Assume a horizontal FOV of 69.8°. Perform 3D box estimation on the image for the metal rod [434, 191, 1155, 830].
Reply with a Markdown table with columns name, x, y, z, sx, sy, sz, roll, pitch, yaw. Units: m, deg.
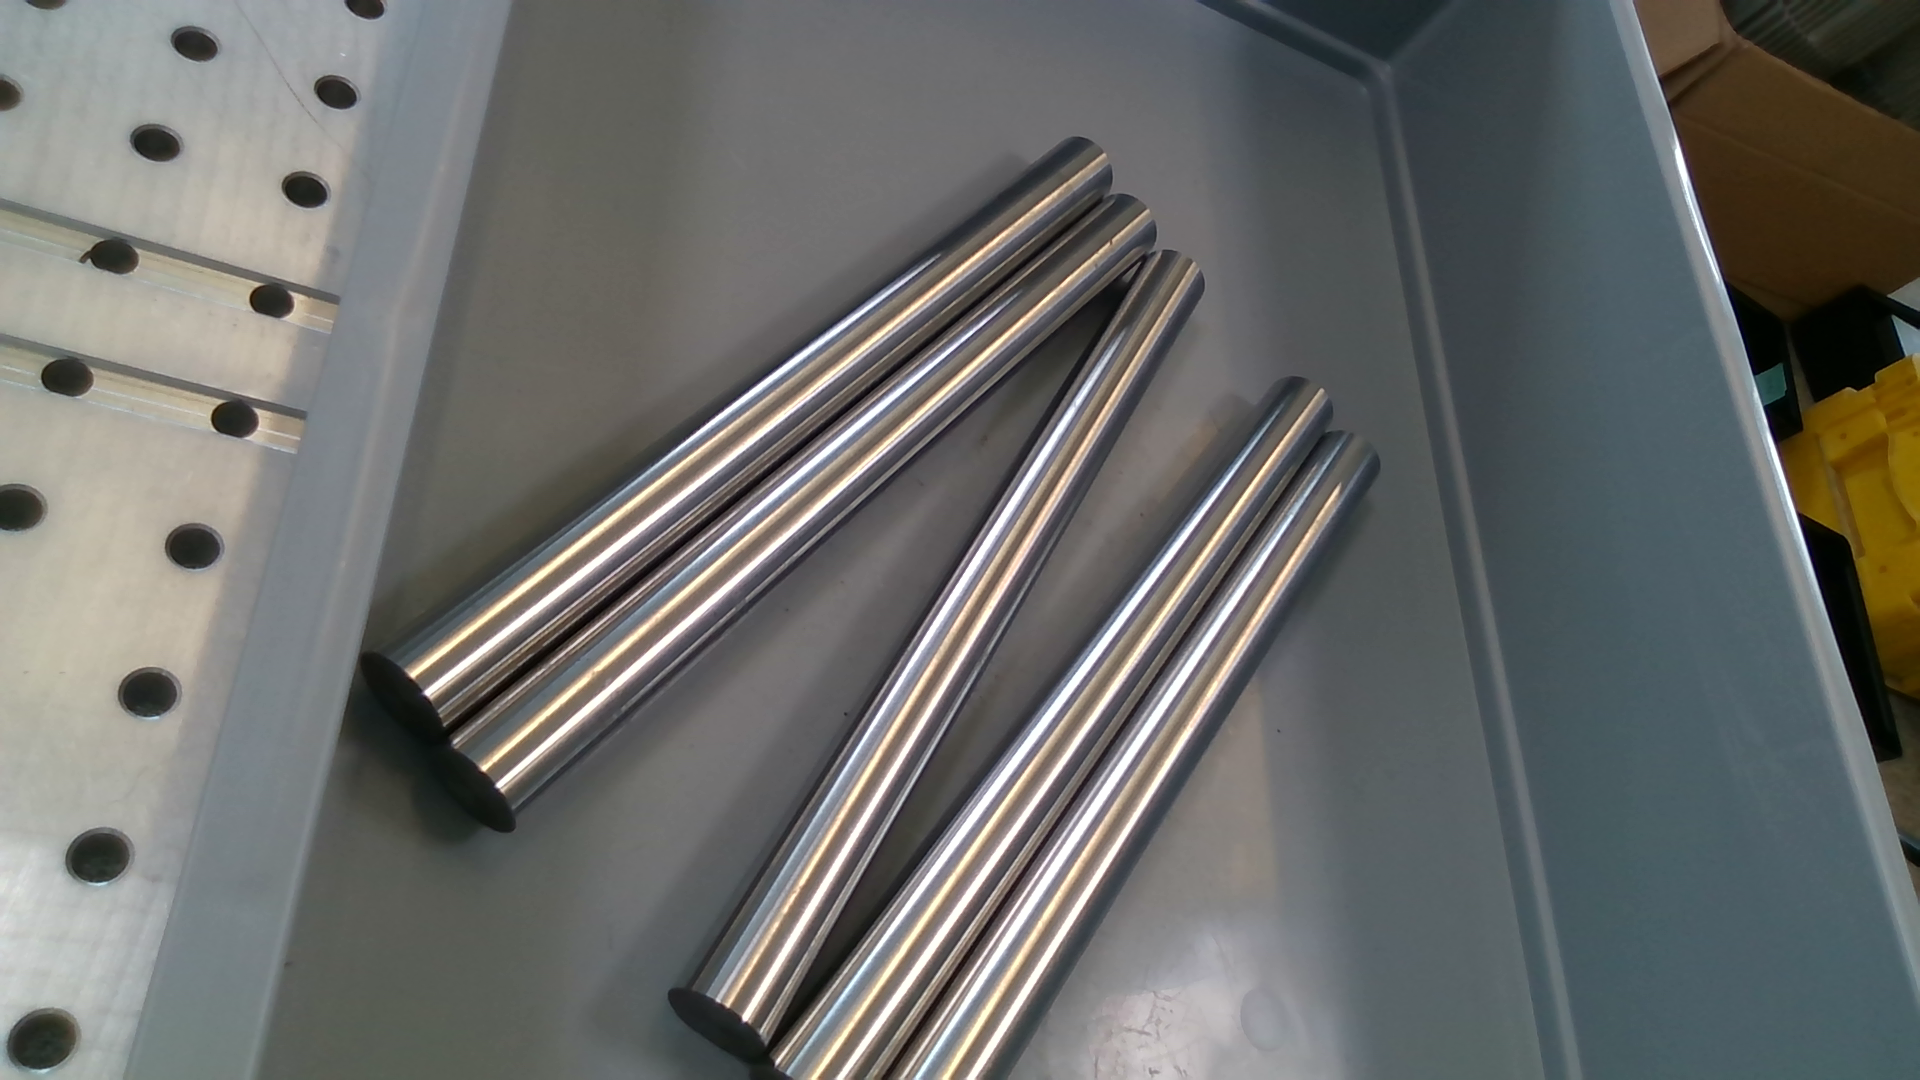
| name | x | y | z | sx | sy | sz | roll | pitch | yaw |
| --- | --- | --- | --- | --- | --- | --- | --- | --- | --- |
| metal rod | -0.024 | -0.029 | 0.393 | 0.025 | 0.025 | 0.299 | 46 | 51 | -2 |

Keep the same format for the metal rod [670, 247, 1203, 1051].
| name | x | y | z | sx | sy | sz | roll | pitch | yaw |
| --- | --- | --- | --- | --- | --- | --- | --- | --- | --- |
| metal rod | 0.011 | 0.006 | 0.395 | 0.025 | 0.025 | 0.299 | 39 | 52 | -8 |

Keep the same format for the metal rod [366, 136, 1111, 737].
| name | x | y | z | sx | sy | sz | roll | pitch | yaw |
| --- | --- | --- | --- | --- | --- | --- | --- | --- | --- |
| metal rod | -0.039 | -0.049 | 0.394 | 0.025 | 0.025 | 0.299 | 46 | 51 | -2 |

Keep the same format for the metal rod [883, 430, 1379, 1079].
| name | x | y | z | sx | sy | sz | roll | pitch | yaw |
| --- | --- | --- | --- | --- | --- | --- | --- | --- | --- |
| metal rod | 0.059 | 0.057 | 0.398 | 0.025 | 0.025 | 0.299 | 45 | 51 | -3 |

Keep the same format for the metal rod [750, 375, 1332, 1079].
| name | x | y | z | sx | sy | sz | roll | pitch | yaw |
| --- | --- | --- | --- | --- | --- | --- | --- | --- | --- |
| metal rod | 0.042 | 0.038 | 0.398 | 0.025 | 0.025 | 0.299 | 45 | 51 | -3 |
